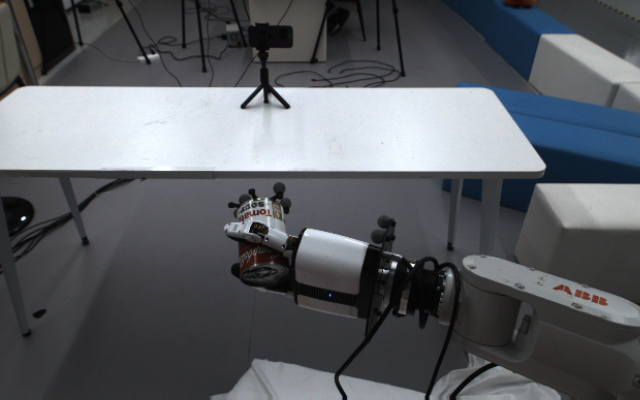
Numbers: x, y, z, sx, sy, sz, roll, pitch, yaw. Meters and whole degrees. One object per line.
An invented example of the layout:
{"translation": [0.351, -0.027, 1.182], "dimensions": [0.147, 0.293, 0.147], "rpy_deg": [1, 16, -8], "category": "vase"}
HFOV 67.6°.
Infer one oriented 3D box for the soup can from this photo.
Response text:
{"translation": [-0.076, 0.057, 0.650], "dimensions": [0.067, 0.067, 0.101], "rpy_deg": [-5, 57, -9], "category": "soup can"}
